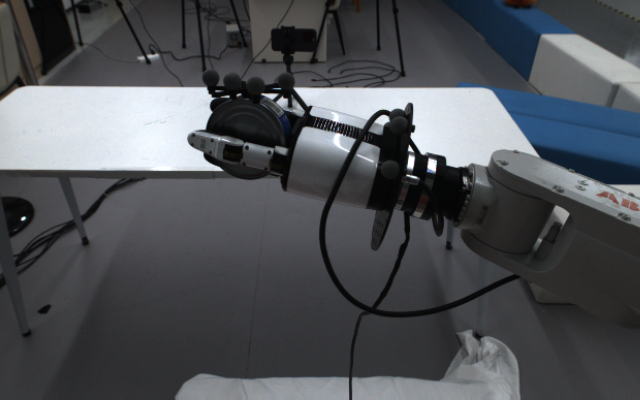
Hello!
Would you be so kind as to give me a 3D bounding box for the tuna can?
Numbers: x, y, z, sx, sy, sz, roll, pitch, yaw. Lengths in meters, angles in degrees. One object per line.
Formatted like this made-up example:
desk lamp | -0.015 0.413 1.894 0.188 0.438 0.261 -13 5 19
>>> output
tuna can | -0.072 -0.068 0.509 0.085 0.085 0.034 9 23 9
